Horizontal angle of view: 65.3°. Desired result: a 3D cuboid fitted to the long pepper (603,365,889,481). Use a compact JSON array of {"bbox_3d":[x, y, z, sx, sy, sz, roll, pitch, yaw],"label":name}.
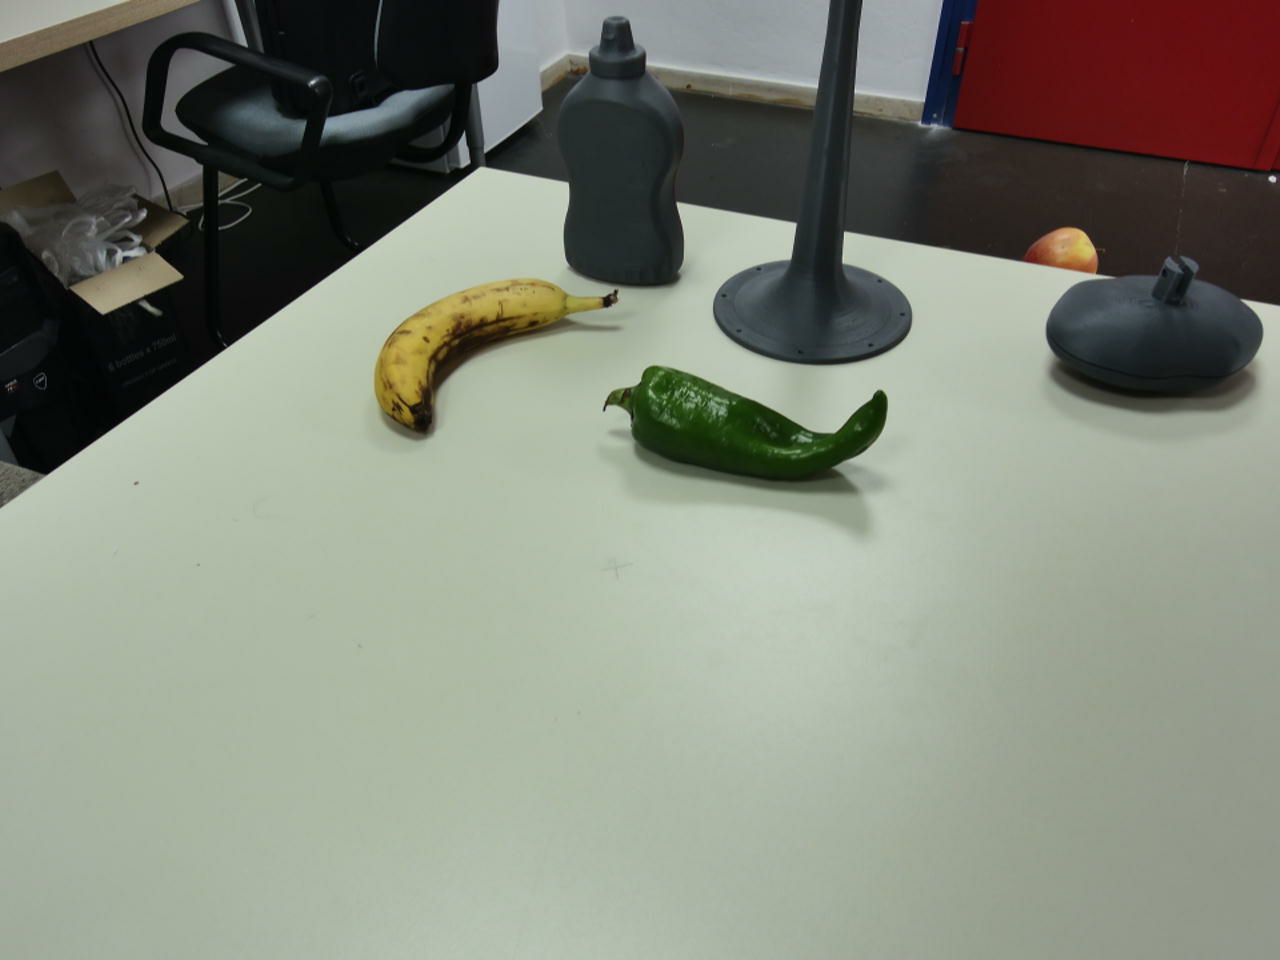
[{"bbox_3d":[0.058,-0.038,0.606,0.175,0.065,0.058,15,41,18],"label":"long pepper"}]
